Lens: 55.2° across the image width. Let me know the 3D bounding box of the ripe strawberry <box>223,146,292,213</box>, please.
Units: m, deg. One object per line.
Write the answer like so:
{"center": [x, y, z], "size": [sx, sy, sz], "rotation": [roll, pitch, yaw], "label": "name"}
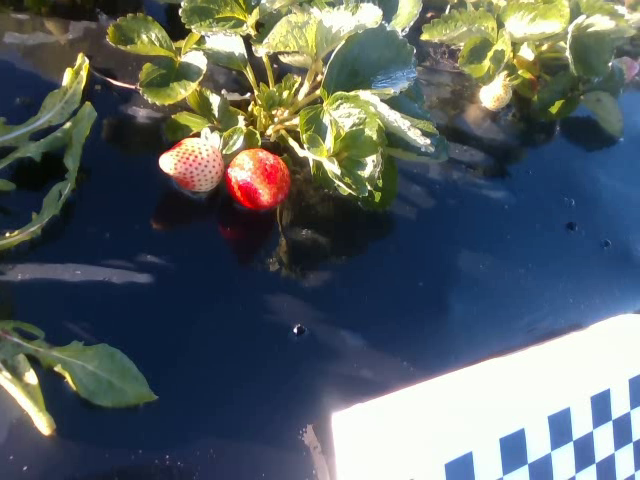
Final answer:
{"center": [-0.030, -0.031, 0.328], "size": [0.040, 0.038, 0.056], "rotation": [-23, 15, -3], "label": "ripe strawberry"}
